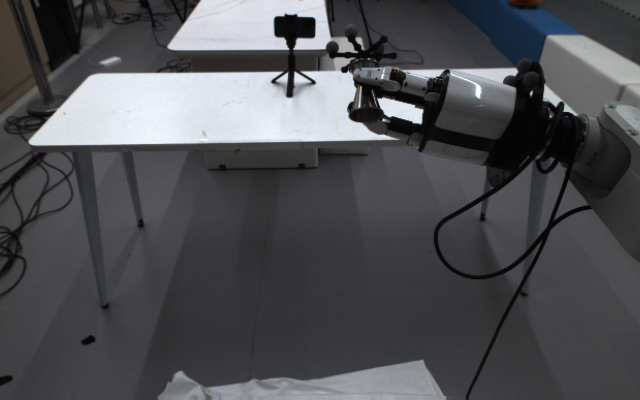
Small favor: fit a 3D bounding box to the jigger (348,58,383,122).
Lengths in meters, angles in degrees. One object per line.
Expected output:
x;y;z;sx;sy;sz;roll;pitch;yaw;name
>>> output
0.057;-0.139;0.610;0.043;0.043;0.071;0;75;-3;jigger
